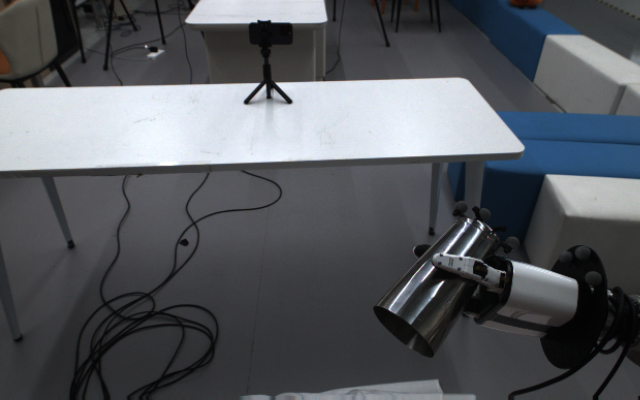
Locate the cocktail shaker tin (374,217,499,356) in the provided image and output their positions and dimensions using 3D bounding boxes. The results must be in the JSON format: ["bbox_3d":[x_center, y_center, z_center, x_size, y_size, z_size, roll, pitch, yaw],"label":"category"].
[{"bbox_3d":[0.157,0.099,0.620,0.093,0.093,0.170,32,67,35],"label":"cocktail shaker tin"}]
